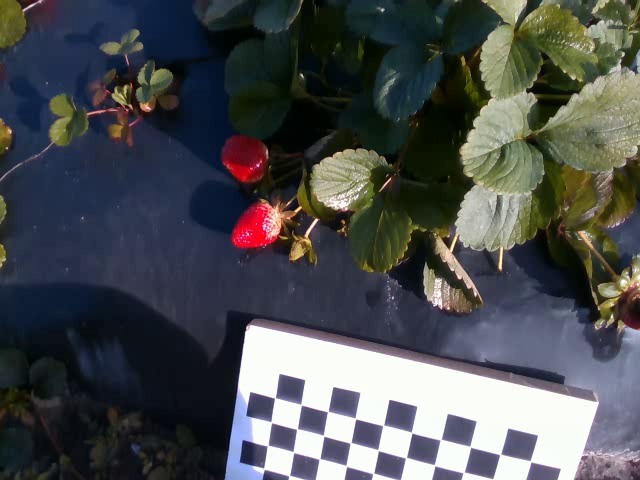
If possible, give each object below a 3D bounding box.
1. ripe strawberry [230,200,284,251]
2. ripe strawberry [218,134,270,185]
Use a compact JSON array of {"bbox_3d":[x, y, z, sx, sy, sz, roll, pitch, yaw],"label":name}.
[{"bbox_3d":[-0.060,-0.013,0.524,0.053,0.043,0.038,-37,2,-24],"label":"ripe strawberry"},{"bbox_3d":[-0.070,-0.078,0.550,0.054,0.048,0.039,22,15,-18],"label":"ripe strawberry"}]
